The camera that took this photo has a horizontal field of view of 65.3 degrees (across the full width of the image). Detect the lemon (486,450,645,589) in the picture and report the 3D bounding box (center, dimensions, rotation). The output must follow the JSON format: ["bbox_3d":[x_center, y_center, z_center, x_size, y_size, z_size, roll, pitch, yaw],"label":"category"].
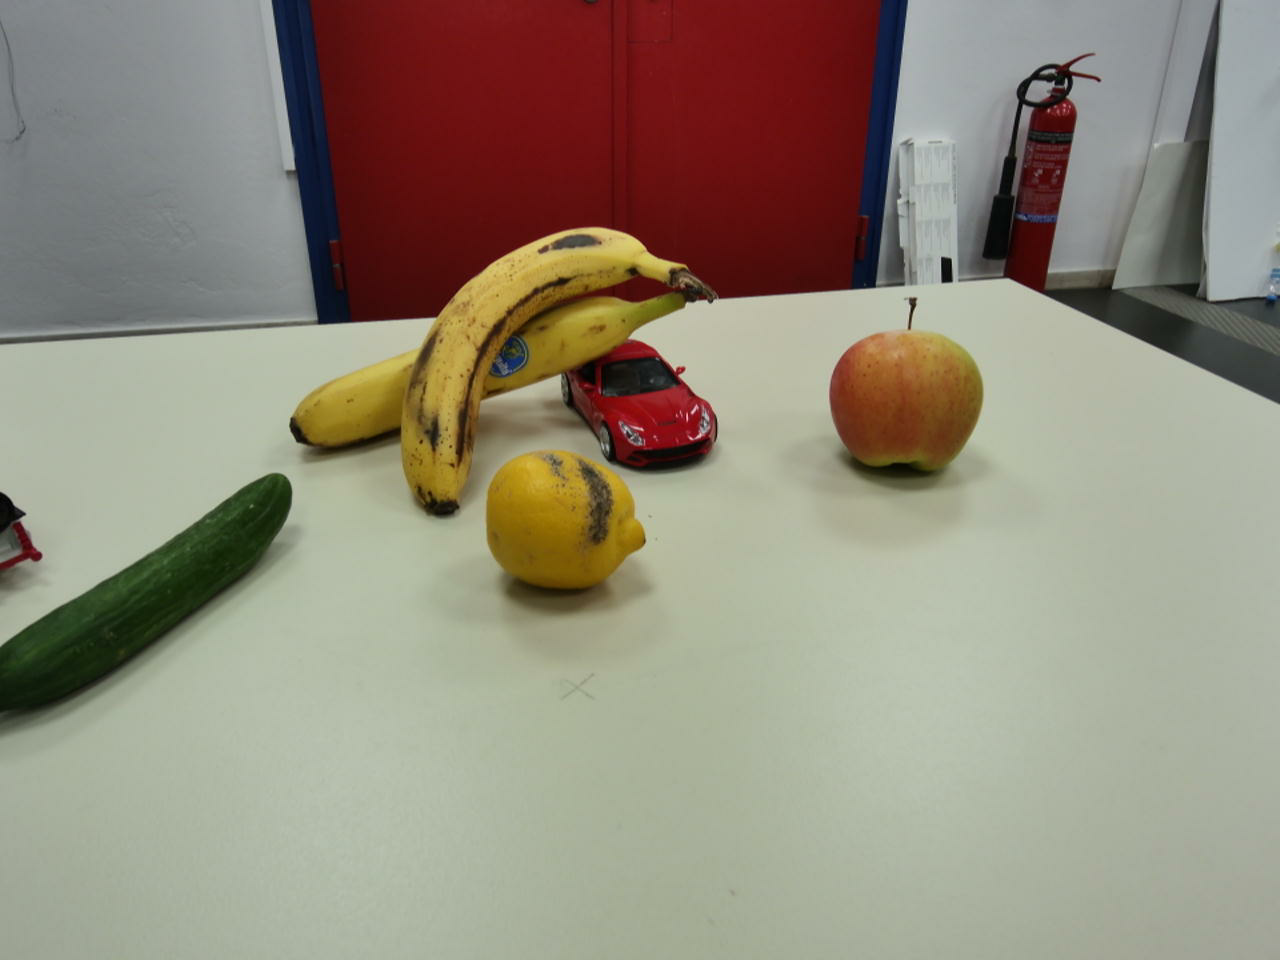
[{"bbox_3d":[-0.033,0.016,0.410,0.061,0.056,0.058,-9,26,-19],"label":"lemon"}]
